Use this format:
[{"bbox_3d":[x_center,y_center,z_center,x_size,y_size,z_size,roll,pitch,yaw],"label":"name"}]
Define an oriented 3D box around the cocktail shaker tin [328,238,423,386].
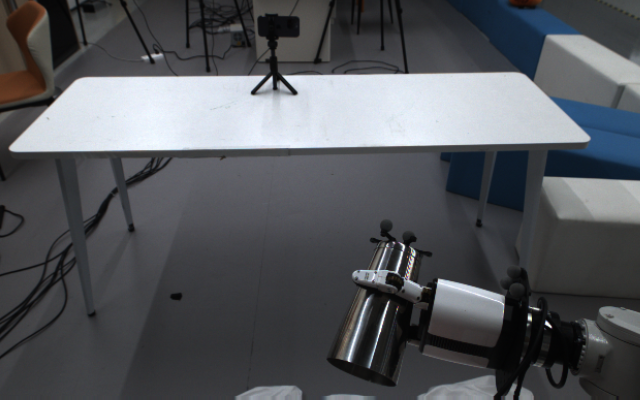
[{"bbox_3d":[0.080,0.142,0.633,0.093,0.093,0.170,15,62,18],"label":"cocktail shaker tin"}]
